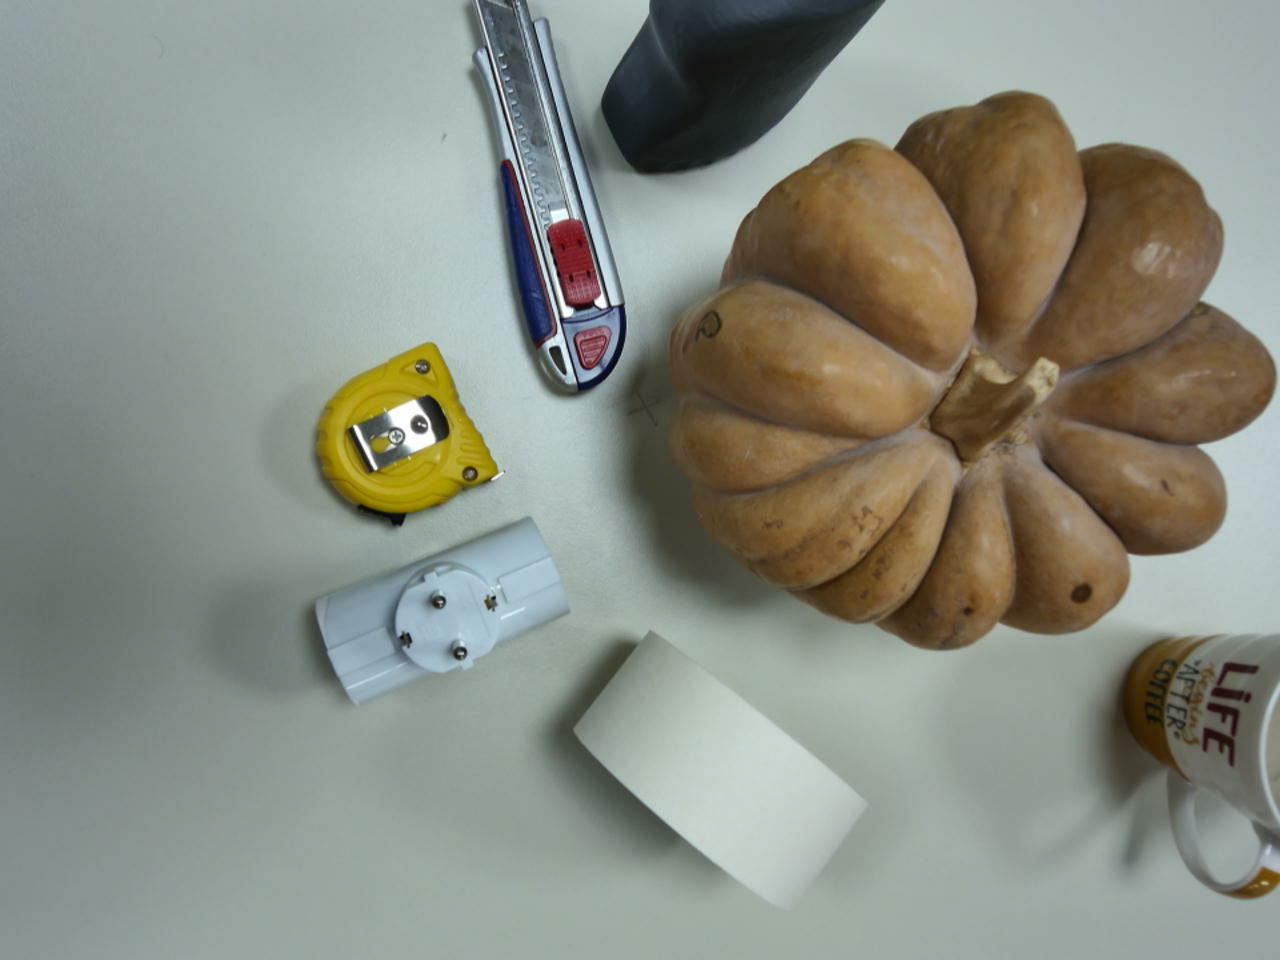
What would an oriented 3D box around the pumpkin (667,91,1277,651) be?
[{"bbox_3d":[0.108,-0.034,0.372,0.199,0.177,0.198,0,90,-12],"label":"pumpkin"}]
